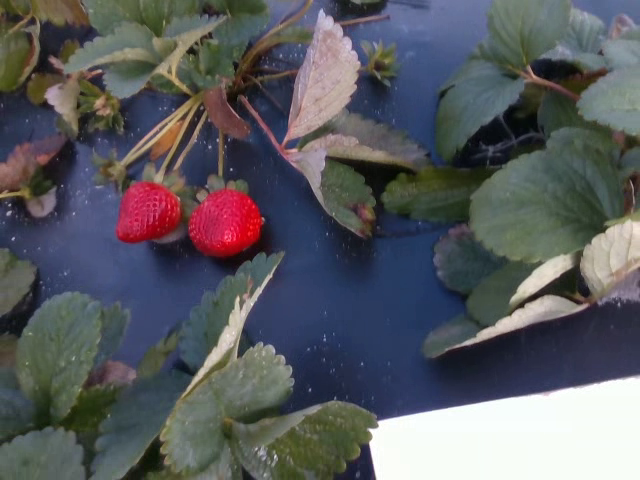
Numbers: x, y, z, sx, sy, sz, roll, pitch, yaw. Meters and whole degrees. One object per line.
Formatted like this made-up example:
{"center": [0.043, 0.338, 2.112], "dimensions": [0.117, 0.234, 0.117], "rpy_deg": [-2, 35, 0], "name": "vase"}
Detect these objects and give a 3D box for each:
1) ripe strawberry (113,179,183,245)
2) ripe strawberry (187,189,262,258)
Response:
{"center": [-0.122, -0.016, 0.421], "dimensions": [0.048, 0.041, 0.056], "rpy_deg": [0, 42, 17], "name": "ripe strawberry"}
{"center": [-0.066, -0.011, 0.394], "dimensions": [0.057, 0.051, 0.064], "rpy_deg": [-31, 28, 0], "name": "ripe strawberry"}
